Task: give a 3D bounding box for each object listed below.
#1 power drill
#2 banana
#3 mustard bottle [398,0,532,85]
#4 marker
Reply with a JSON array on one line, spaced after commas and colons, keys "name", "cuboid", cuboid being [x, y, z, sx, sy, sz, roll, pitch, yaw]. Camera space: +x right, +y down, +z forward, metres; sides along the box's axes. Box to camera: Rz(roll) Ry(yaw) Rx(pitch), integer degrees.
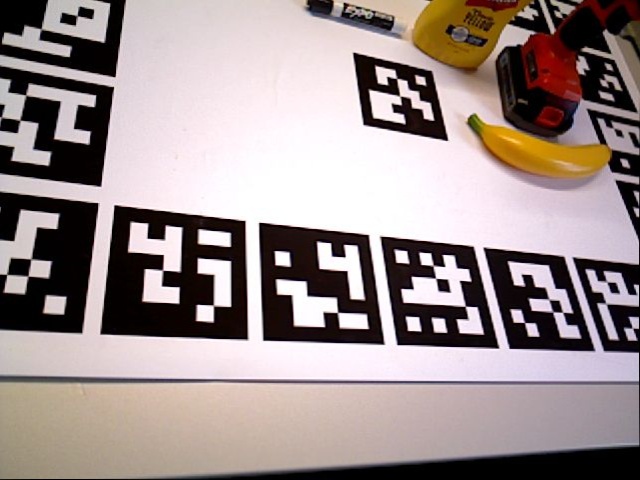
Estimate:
[{"name": "power drill", "cuboid": [0.277, -0.194, 0.579, 0.057, 0.191, 0.181, 19, 56, -15]}, {"name": "banana", "cuboid": [0.238, -0.075, 0.620, 0.195, 0.040, 0.073, 14, 62, -14]}, {"name": "mustard bottle", "cuboid": [0.170, -0.257, 0.586, 0.095, 0.196, 0.057, 17, 58, -16]}, {"name": "marker", "cuboid": [0.021, -0.242, 0.620, 0.120, 0.020, 0.019, 9, 62, -19]}]
